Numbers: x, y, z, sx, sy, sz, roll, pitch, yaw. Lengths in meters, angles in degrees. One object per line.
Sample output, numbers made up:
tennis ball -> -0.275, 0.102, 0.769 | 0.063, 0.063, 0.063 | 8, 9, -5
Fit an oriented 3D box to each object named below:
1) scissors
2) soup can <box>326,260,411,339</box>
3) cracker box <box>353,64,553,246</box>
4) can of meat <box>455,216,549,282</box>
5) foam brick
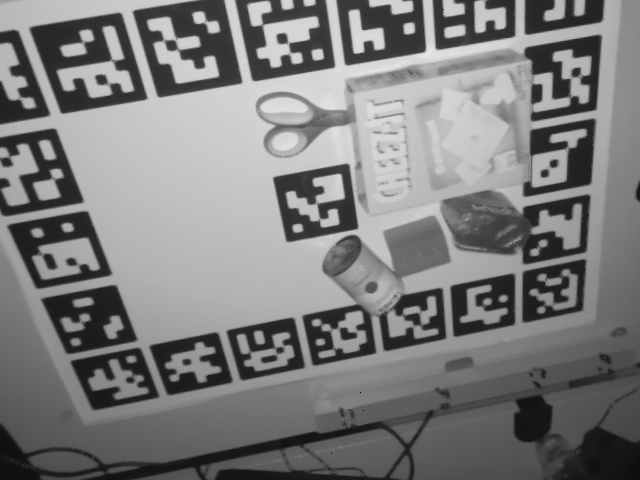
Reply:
scissors -> 0.041, -0.125, 0.841 | 0.203, 0.016, 0.087 | -14, 118, 0
soup can -> 0.067, 0.082, 0.946 | 0.102, 0.068, 0.067 | 37, 108, -28
cracker box -> 0.163, -0.100, 0.835 | 0.214, 0.072, 0.163 | -16, 119, -3
can of meat -> 0.235, 0.009, 0.909 | 0.102, 0.084, 0.057 | 3, 117, -8
foam brick -> 0.144, 0.044, 0.937 | 0.078, 0.051, 0.052 | -19, 118, 3
